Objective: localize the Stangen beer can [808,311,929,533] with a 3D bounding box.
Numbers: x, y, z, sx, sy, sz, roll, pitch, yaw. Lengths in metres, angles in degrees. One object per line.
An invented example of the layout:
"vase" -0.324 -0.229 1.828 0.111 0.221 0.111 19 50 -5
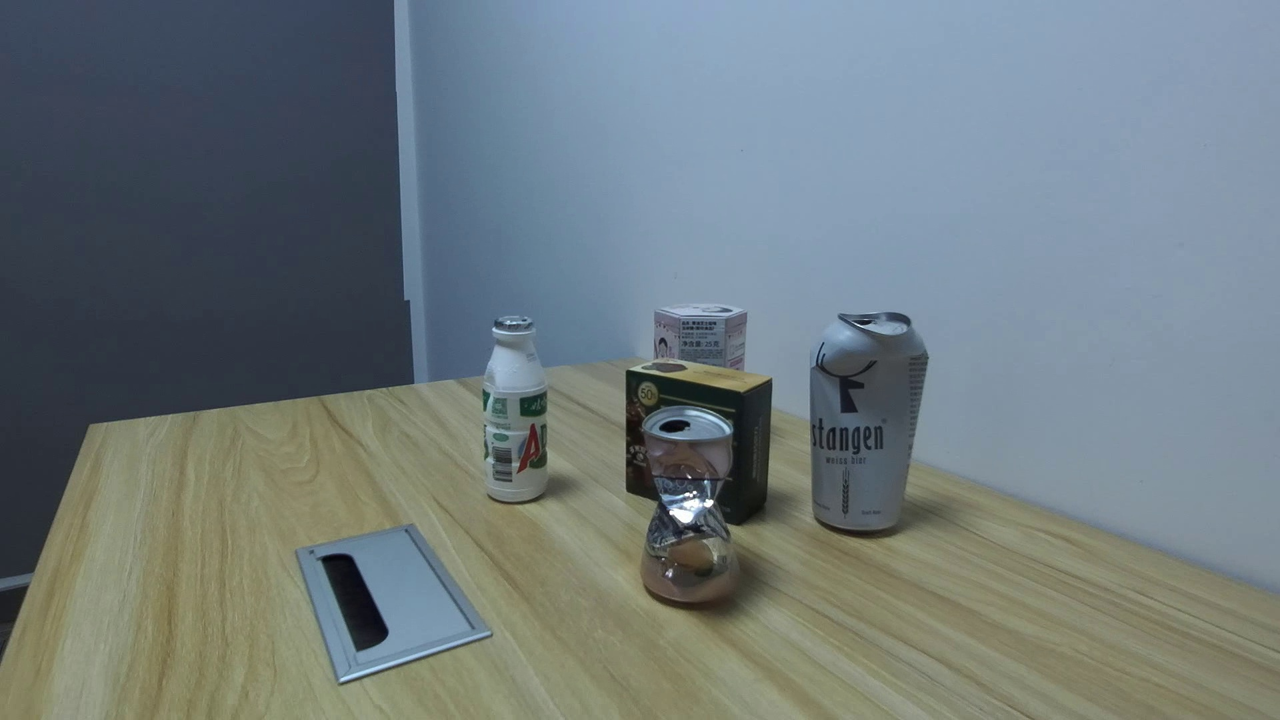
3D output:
"Stangen beer can" 0.166 0.047 0.525 0.065 0.162 0.077 12 19 40

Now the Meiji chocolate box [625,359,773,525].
"Meiji chocolate box" 0.046 0.062 0.565 0.109 0.109 0.056 11 17 35

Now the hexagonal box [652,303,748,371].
"hexagonal box" 0.057 0.016 0.700 0.083 0.136 0.091 9 16 29

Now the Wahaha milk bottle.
"Wahaha milk bottle" -0.102 0.045 0.572 0.053 0.136 0.053 2 13 0

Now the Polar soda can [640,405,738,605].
"Polar soda can" 0.031 0.091 0.439 0.070 0.114 0.074 -20 20 -38
